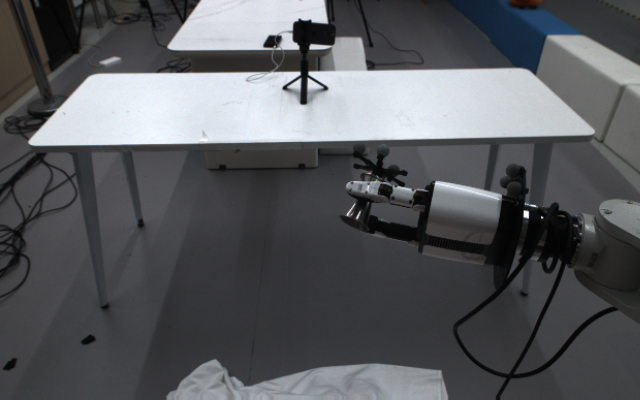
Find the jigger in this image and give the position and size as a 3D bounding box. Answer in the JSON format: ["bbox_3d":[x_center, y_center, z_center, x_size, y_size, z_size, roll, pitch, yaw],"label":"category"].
[{"bbox_3d":[0.058,-0.001,0.649,0.043,0.043,0.071,21,73,25],"label":"jigger"}]
